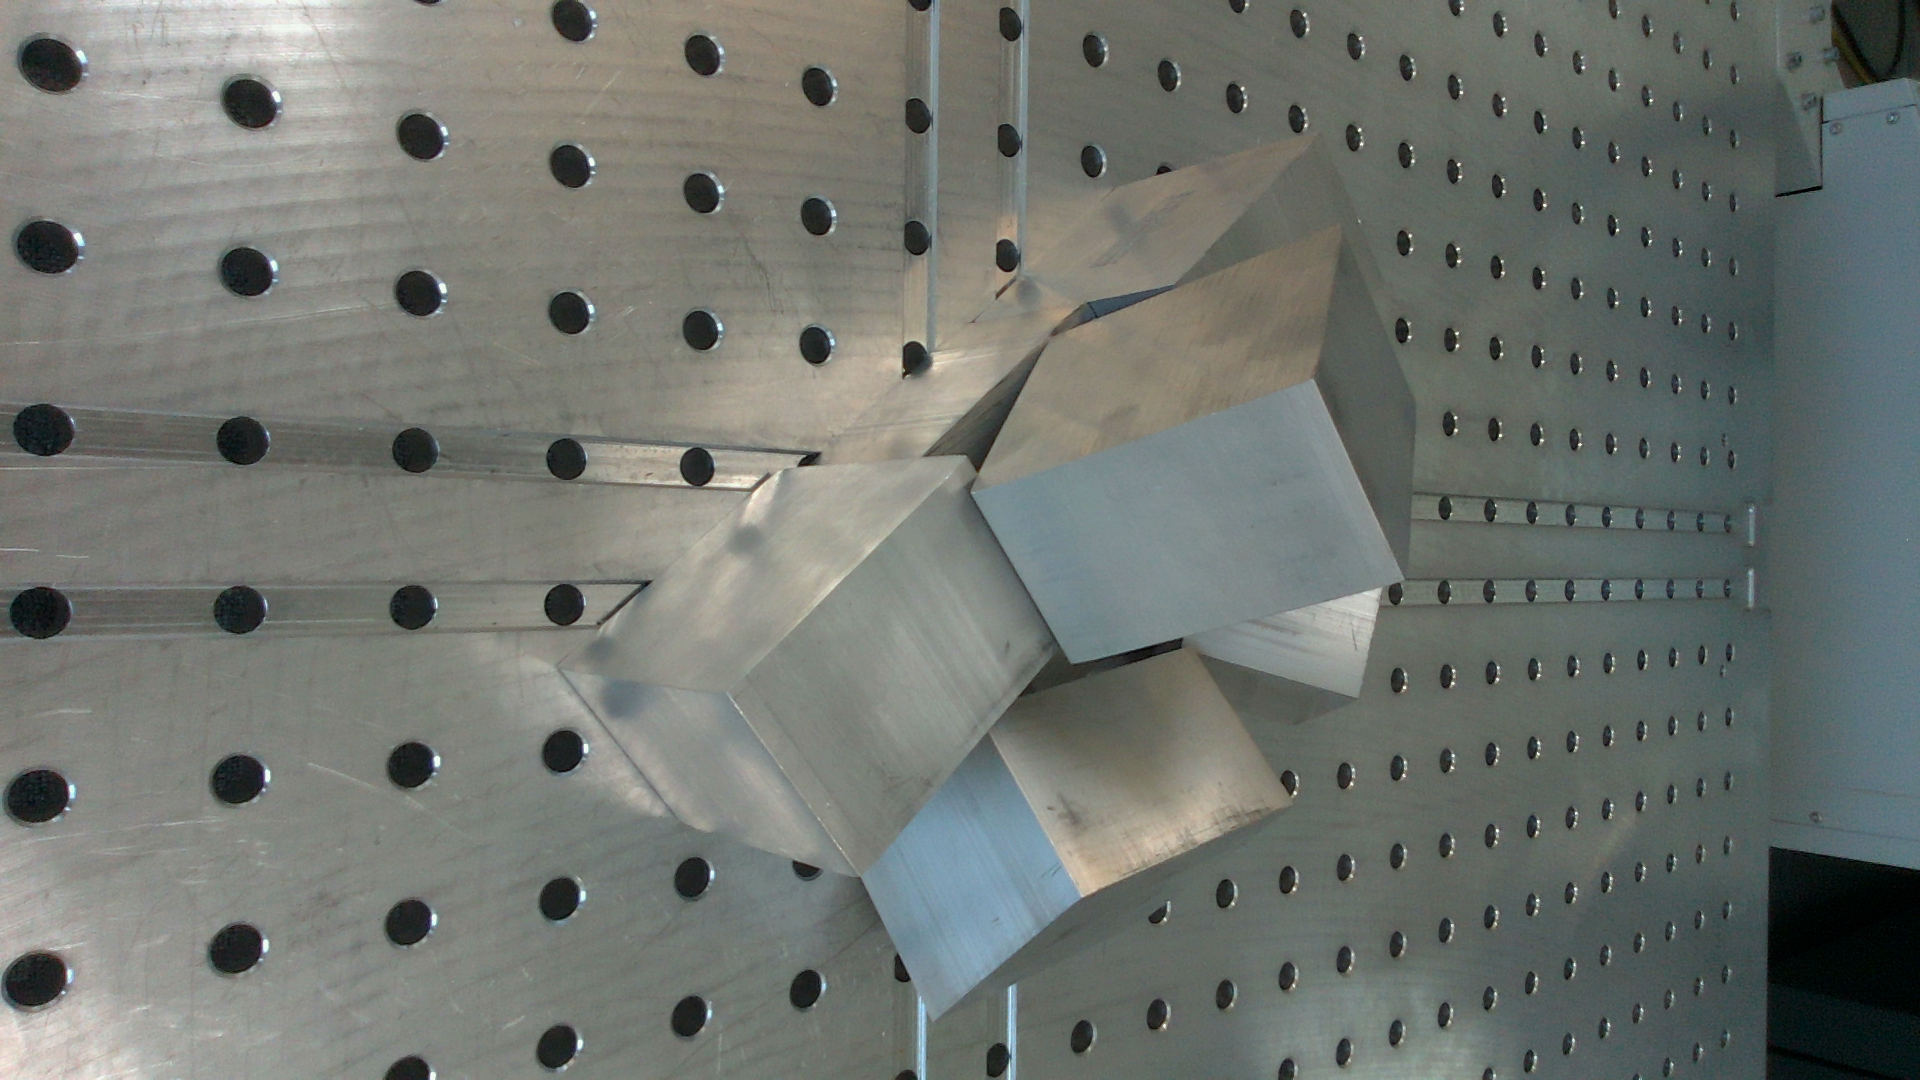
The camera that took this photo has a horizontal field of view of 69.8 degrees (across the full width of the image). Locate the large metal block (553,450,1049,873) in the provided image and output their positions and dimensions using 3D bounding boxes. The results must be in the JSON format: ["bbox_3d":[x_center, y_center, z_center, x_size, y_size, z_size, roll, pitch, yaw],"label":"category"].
[{"bbox_3d":[-0.035,0.024,0.325,0.080,0.080,0.050,-46,118,-30],"label":"large metal block"}]

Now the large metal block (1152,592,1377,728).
[{"bbox_3d":[0.095,0.009,0.426,0.050,0.080,0.080,15,77,3],"label":"large metal block"}]

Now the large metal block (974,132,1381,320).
[{"bbox_3d":[0.064,-0.071,0.409,0.080,0.080,0.050,-47,118,-30],"label":"large metal block"}]

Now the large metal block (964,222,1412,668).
[{"bbox_3d":[0.057,-0.023,0.322,0.050,0.080,0.080,59,31,-23],"label":"large metal block"}]

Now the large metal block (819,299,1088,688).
[{"bbox_3d":[0.012,-0.009,0.387,0.080,0.050,0.080,-47,118,-30],"label":"large metal block"}]

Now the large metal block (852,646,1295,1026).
[{"bbox_3d":[0.028,0.078,0.370,0.080,0.080,0.050,-11,61,-39],"label":"large metal block"}]
